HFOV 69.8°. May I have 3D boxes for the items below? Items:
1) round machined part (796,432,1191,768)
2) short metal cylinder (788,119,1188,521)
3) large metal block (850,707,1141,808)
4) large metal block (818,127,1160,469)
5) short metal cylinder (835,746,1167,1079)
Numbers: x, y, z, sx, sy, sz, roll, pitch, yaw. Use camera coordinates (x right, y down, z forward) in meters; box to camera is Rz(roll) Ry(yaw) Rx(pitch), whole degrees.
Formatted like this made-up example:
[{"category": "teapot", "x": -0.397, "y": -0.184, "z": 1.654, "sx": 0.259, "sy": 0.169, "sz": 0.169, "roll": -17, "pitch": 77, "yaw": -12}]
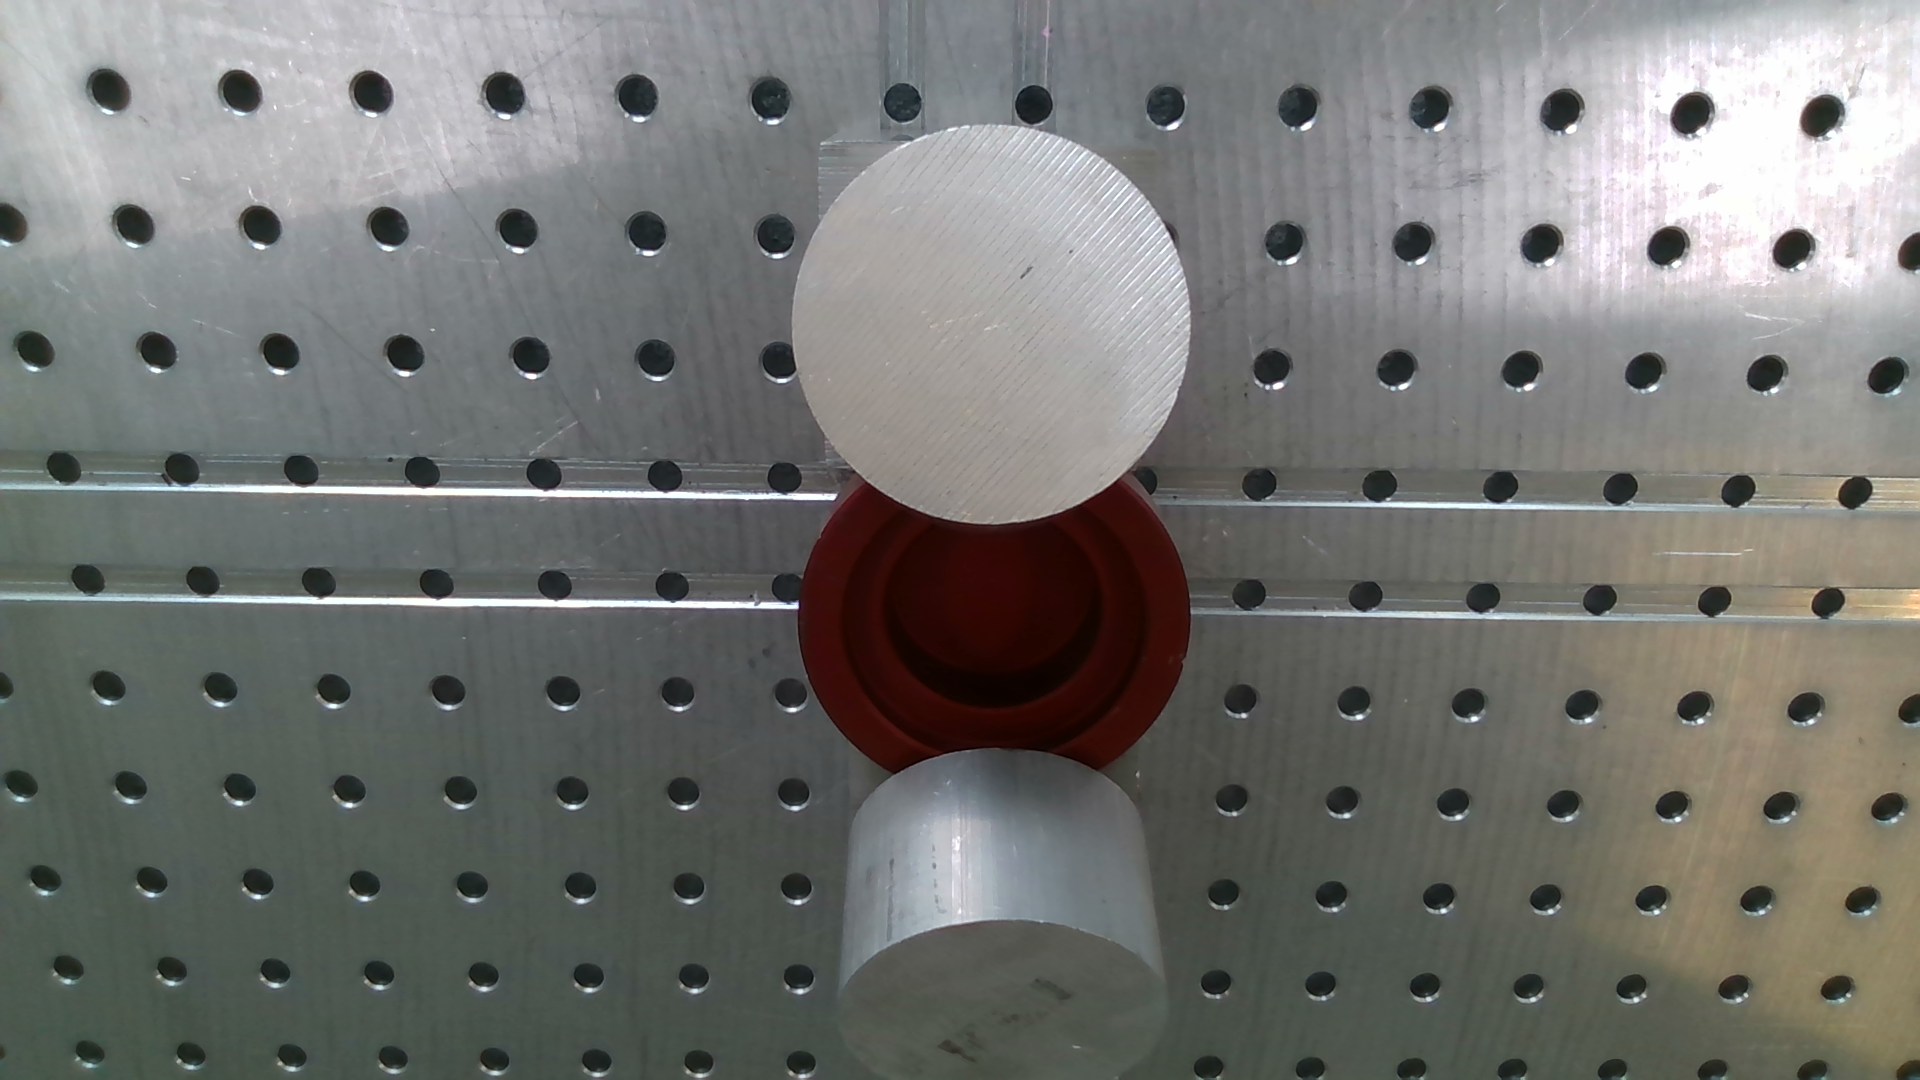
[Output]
[{"category": "round machined part", "x": 0.008, "y": 0.014, "z": 0.361, "sx": 0.098, "sy": 0.042, "sz": 0.098, "roll": 0, "pitch": 110, "yaw": 0}, {"category": "short metal cylinder", "x": 0.006, "y": -0.044, "z": 0.300, "sx": 0.080, "sy": 0.050, "sz": 0.080, "roll": 0, "pitch": 89, "yaw": 1}, {"category": "large metal block", "x": 0.010, "y": 0.076, "z": 0.410, "sx": 0.080, "sy": 0.050, "sz": 0.080, "roll": -1, "pitch": 110, "yaw": 0}, {"category": "large metal block", "x": 0.006, "y": -0.065, "z": 0.359, "sx": 0.080, "sy": 0.050, "sz": 0.080, "roll": 1, "pitch": 110, "yaw": 0}, {"category": "short metal cylinder", "x": 0.010, "y": 0.098, "z": 0.352, "sx": 0.080, "sy": 0.050, "sz": 0.080, "roll": 0, "pitch": 130, "yaw": 0}]
